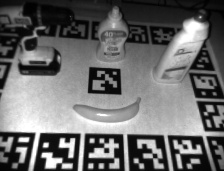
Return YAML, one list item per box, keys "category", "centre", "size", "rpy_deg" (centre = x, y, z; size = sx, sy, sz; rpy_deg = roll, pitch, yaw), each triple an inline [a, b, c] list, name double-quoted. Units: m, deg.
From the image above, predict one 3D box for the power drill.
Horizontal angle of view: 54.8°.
- category: "power drill"
  centre: [-0.193, -0.148, 0.588]
  size: [0.185, 0.188, 0.057]
  rpy_deg: [-3, 59, -5]

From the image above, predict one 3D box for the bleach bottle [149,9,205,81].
- category: "bleach bottle"
  centre: [0.185, -0.110, 0.620]
  size: [0.103, 0.251, 0.068]
  rpy_deg: [10, 57, -1]

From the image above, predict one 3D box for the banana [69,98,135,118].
- category: "banana"
  centre: [-0.020, 0.056, 0.602]
  size: [0.198, 0.039, 0.074]
  rpy_deg: [-2, 60, -6]

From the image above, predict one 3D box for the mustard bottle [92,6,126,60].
- category: "mustard bottle"
  centre: [-0.008, -0.159, 0.660]
  size: [0.097, 0.192, 0.058]
  rpy_deg: [-3, 58, -11]
